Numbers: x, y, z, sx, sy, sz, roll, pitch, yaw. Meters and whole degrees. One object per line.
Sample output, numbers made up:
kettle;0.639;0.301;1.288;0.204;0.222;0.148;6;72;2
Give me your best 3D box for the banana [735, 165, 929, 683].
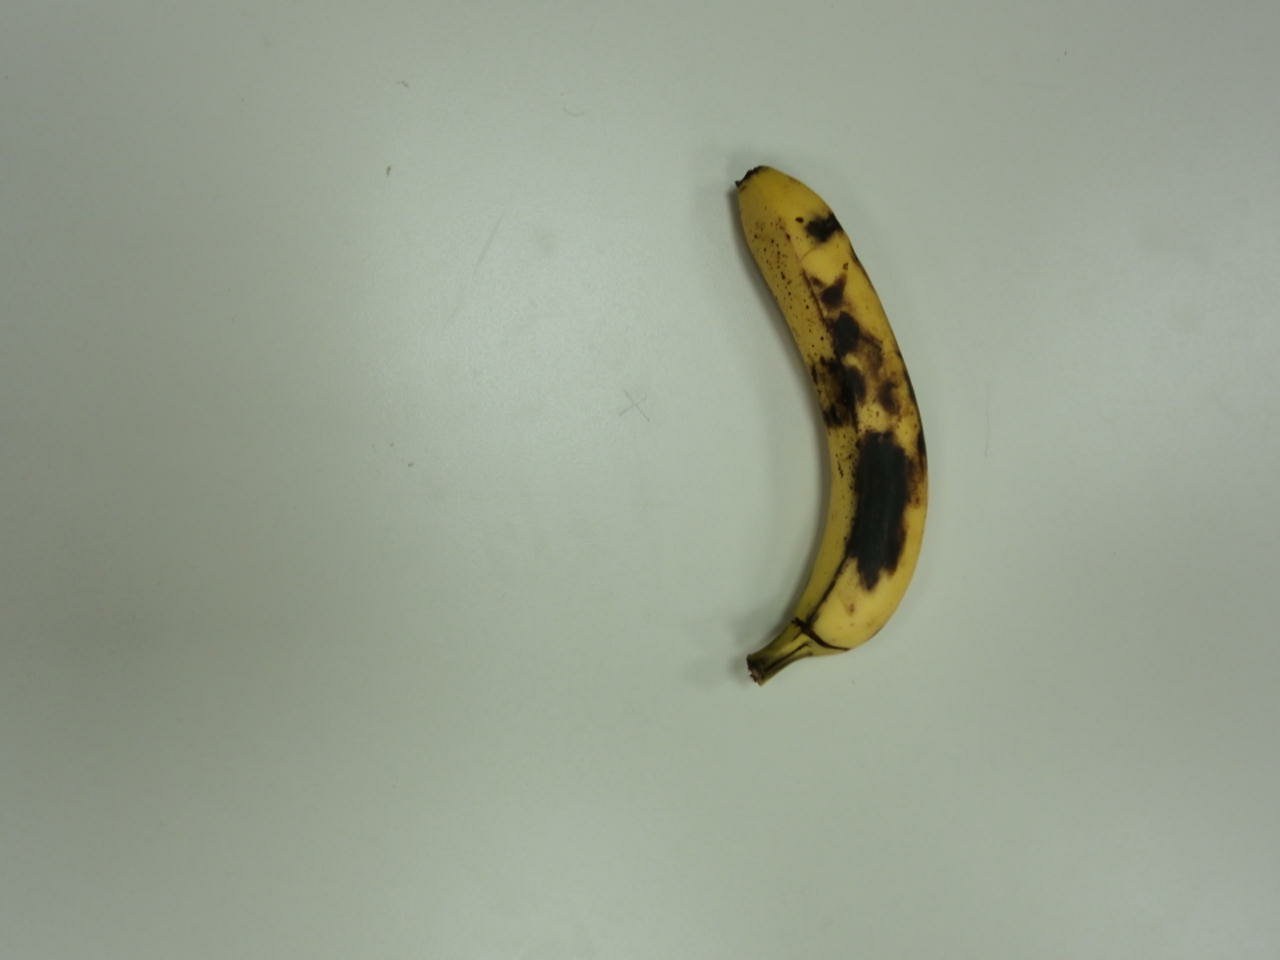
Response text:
banana;0.085;-0.024;0.436;0.084;0.037;0.222;0;90;-11
